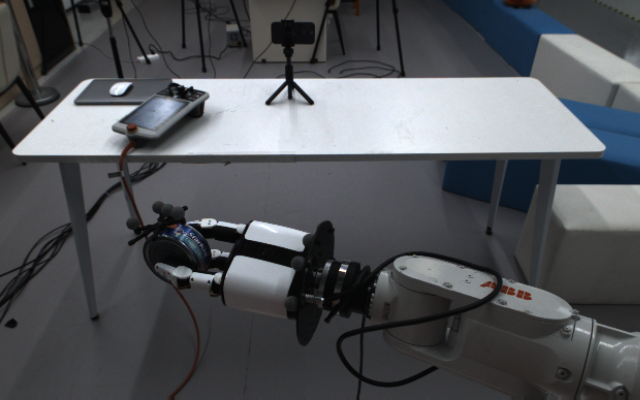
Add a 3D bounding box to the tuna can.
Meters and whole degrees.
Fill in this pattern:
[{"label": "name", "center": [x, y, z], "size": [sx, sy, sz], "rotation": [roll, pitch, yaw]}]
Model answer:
[{"label": "tuna can", "center": [-0.188, 0.079, 0.645], "size": [0.085, 0.085, 0.034], "rotation": [11, 35, 13]}]
